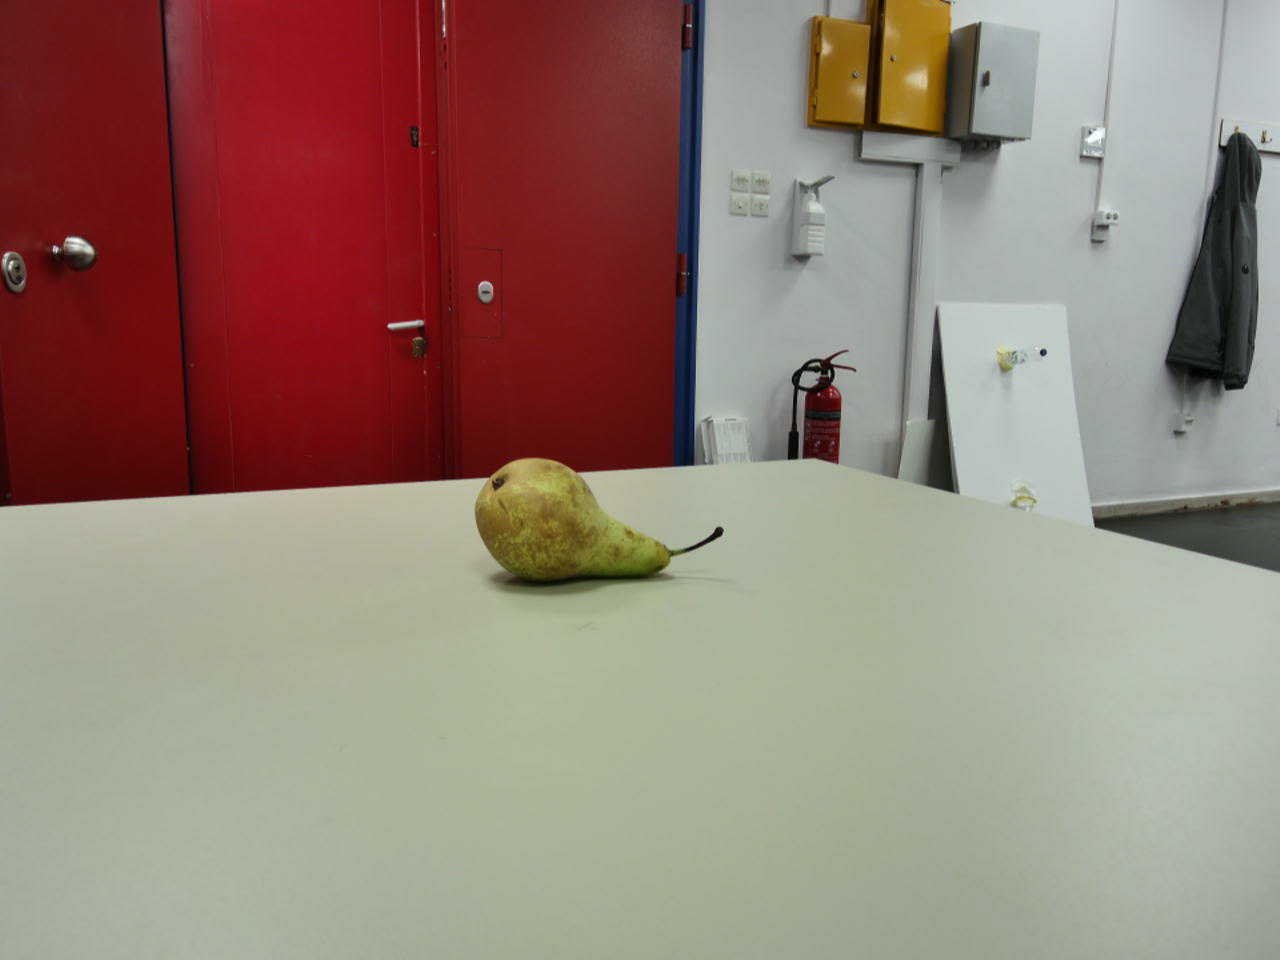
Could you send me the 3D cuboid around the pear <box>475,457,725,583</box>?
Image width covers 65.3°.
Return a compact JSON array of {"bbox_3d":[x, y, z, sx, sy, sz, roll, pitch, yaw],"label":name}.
[{"bbox_3d":[-0.029,0.023,0.614,0.144,0.075,0.071,-3,8,-17],"label":"pear"}]
